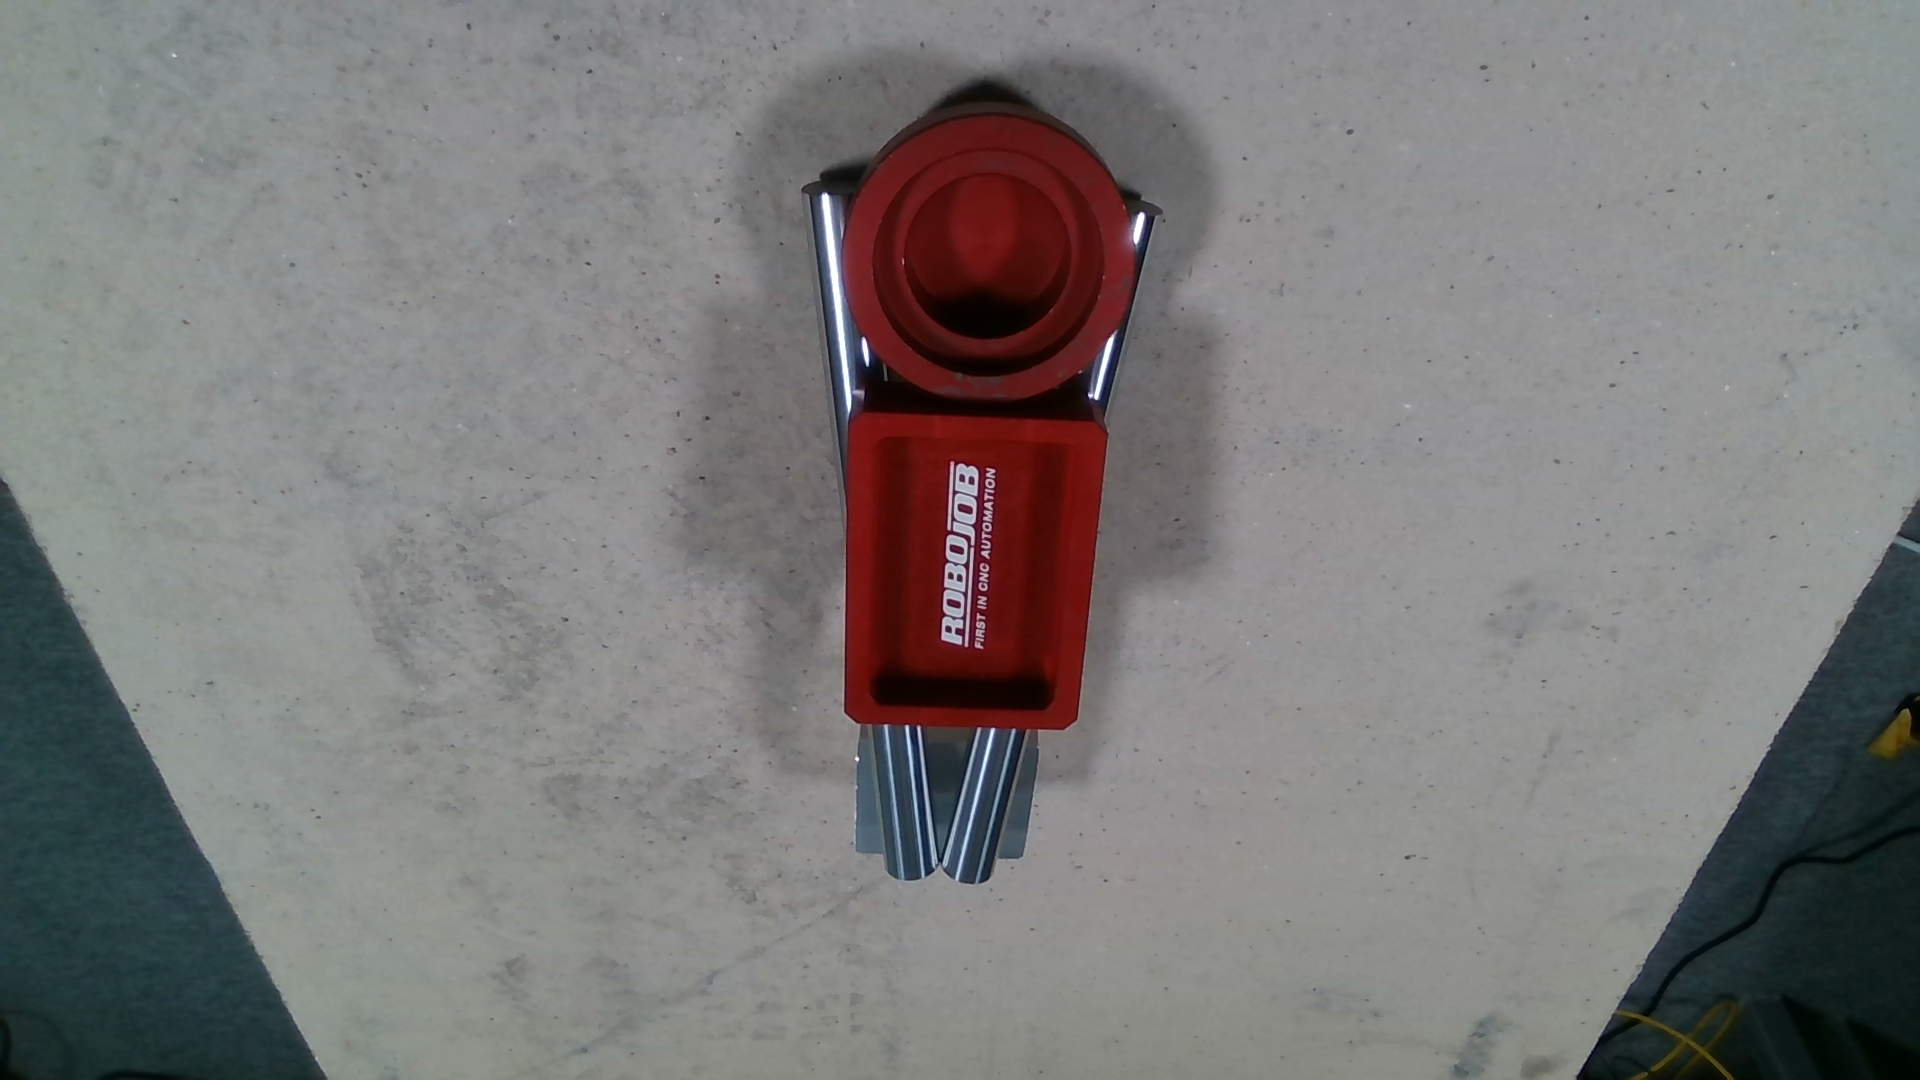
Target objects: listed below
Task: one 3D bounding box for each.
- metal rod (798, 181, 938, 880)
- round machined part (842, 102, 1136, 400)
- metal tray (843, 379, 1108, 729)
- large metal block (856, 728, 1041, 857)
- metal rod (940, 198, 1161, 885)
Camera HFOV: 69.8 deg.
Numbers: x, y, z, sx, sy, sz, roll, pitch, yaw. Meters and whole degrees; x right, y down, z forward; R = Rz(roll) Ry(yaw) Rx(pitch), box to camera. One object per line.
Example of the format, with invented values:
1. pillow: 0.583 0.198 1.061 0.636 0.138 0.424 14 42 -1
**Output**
1. metal rod: -0.033 0.010 0.546 0.025 0.025 0.301 -3 117 3
2. round machined part: 0.009 -0.101 0.476 0.098 0.042 0.098 0 119 0
3. metal tray: 0.003 0.007 0.515 0.090 0.030 0.130 2 117 -2
4. large metal block: -0.007 0.102 0.647 0.080 0.050 0.080 3 130 -2
5. metal rod: 0.031 0.014 0.549 0.025 0.025 0.301 8 117 -7
